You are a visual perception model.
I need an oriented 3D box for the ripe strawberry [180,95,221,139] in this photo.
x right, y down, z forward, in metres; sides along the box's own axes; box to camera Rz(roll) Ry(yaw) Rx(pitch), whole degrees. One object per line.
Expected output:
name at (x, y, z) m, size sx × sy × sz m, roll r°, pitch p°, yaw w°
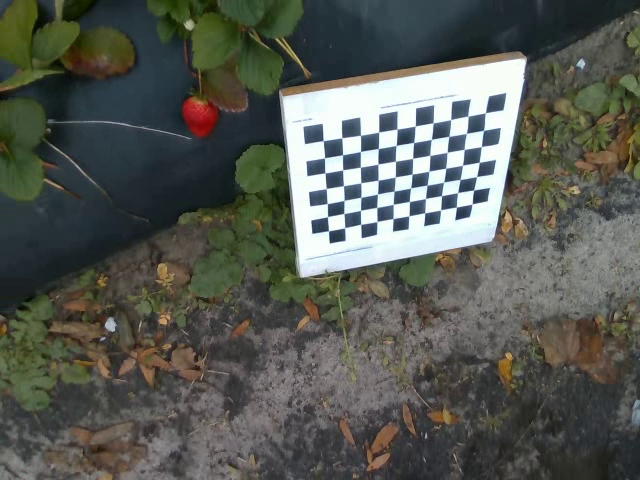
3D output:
ripe strawberry at (-0.089, -0.090, 0.439) m, size 0.028 × 0.033 × 0.023 m, roll 5°, pitch 34°, yaw -13°
